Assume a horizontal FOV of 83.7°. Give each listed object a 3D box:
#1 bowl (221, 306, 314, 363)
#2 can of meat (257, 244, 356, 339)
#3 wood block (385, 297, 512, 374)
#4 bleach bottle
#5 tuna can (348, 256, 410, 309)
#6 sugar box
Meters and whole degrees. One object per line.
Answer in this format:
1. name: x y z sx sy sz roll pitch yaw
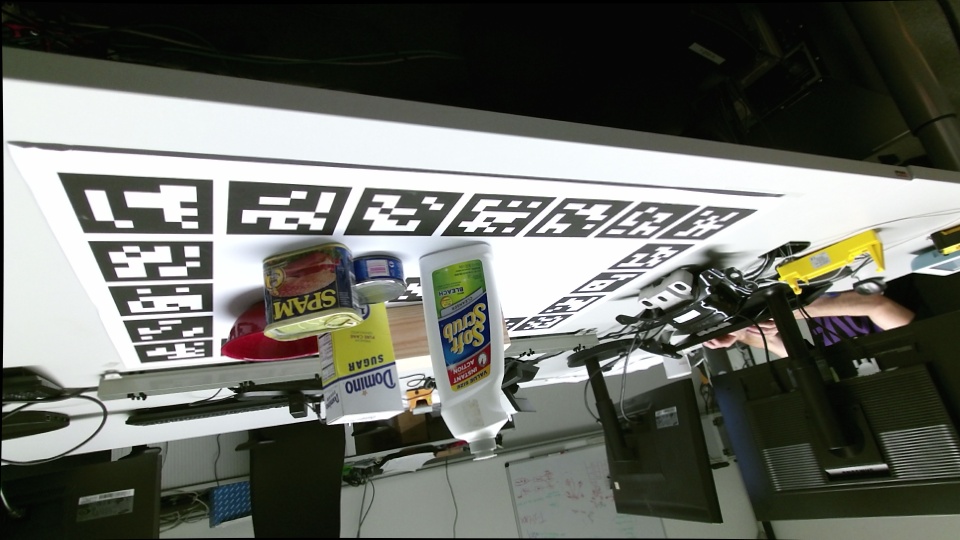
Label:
1. bowl: -0.280 0.087 0.734 0.162 0.055 0.162 -15 161 -5
2. can of meat: -0.195 0.024 0.600 0.102 0.083 0.058 -13 162 2
3. wood block: -0.064 0.111 0.884 0.207 0.089 0.091 -5 153 -18
4. bleach bottle: -0.011 0.098 0.655 0.103 0.249 0.068 -13 160 -3
5. tuna can: -0.133 0.016 0.666 0.086 0.033 0.086 -13 156 -6
6. sugar box: -0.162 0.107 0.681 0.045 0.175 0.093 -32 156 35
